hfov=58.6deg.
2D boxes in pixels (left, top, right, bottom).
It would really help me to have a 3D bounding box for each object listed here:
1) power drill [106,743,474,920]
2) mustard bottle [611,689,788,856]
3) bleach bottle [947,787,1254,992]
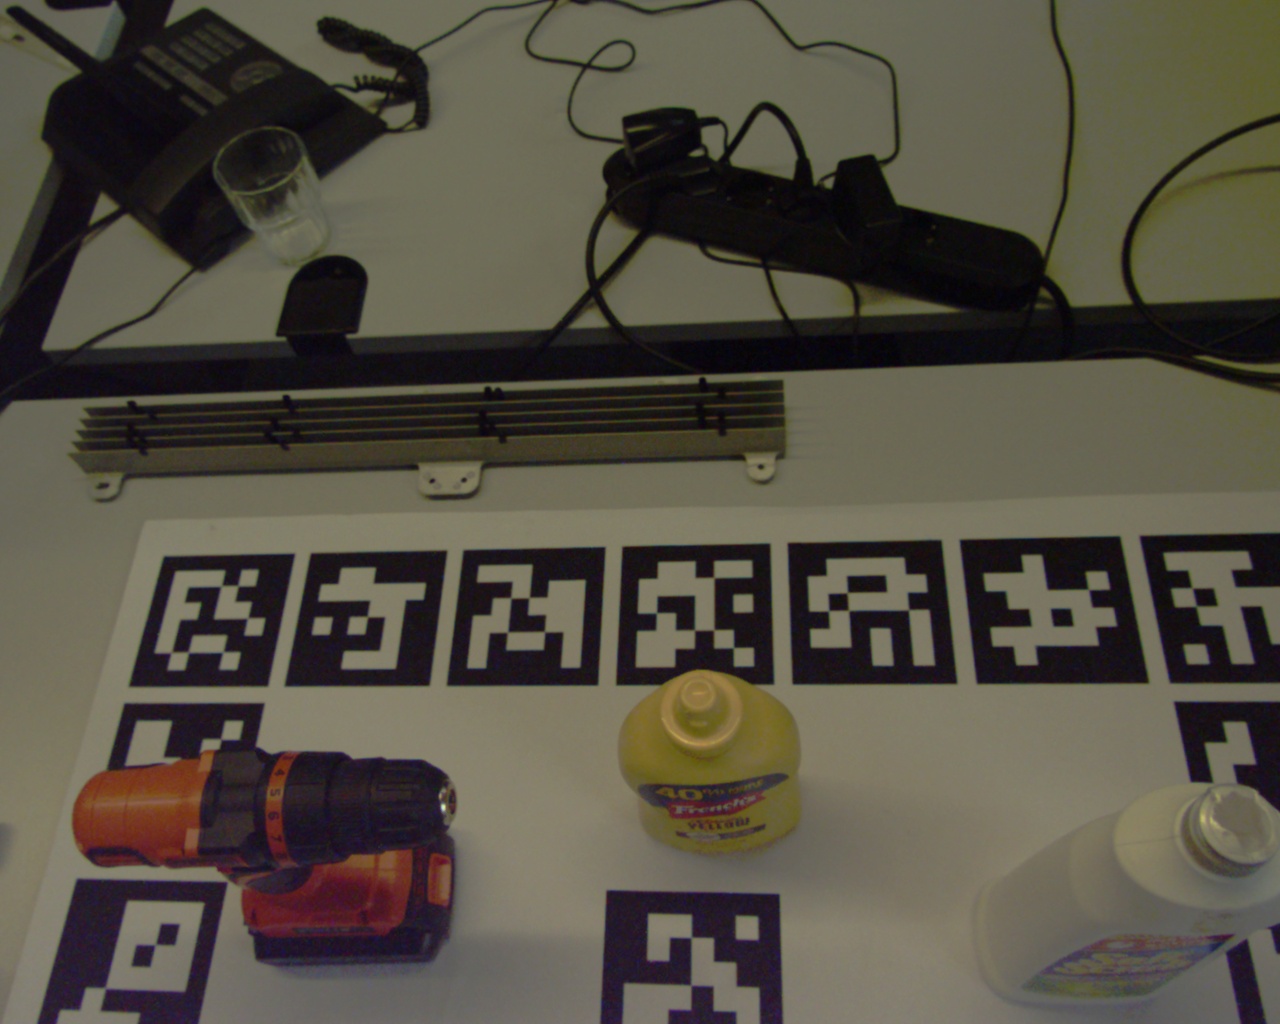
[{"bbox_3d":[-0.159,0.173,0.614,0.185,0.185,0.057,-7,61,8],"label":"power drill"},{"bbox_3d":[0.034,0.143,0.637,0.096,0.190,0.059,-7,61,1],"label":"mustard bottle"},{"bbox_3d":[0.218,0.181,0.552,0.103,0.249,0.068,7,62,10],"label":"bleach bottle"}]
